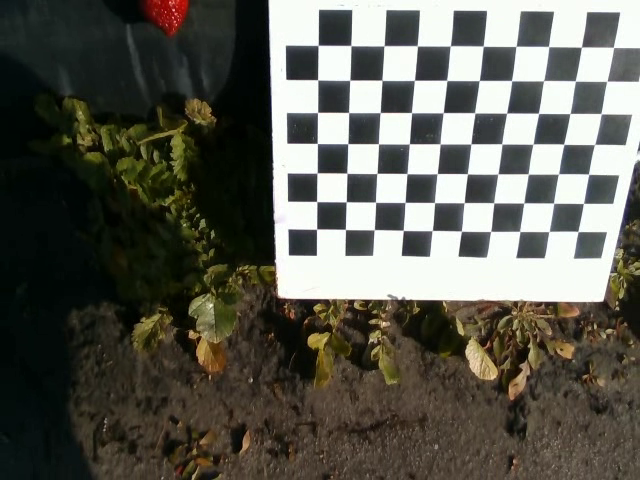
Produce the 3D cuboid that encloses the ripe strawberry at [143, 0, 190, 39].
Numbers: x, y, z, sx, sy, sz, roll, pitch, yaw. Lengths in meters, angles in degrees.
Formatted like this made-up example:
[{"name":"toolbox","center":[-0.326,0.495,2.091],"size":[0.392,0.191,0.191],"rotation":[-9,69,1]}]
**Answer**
[{"name":"ripe strawberry","center":[-0.106,-0.158,0.402],"size":[0.040,0.044,0.037],"rotation":[-17,9,8]}]
